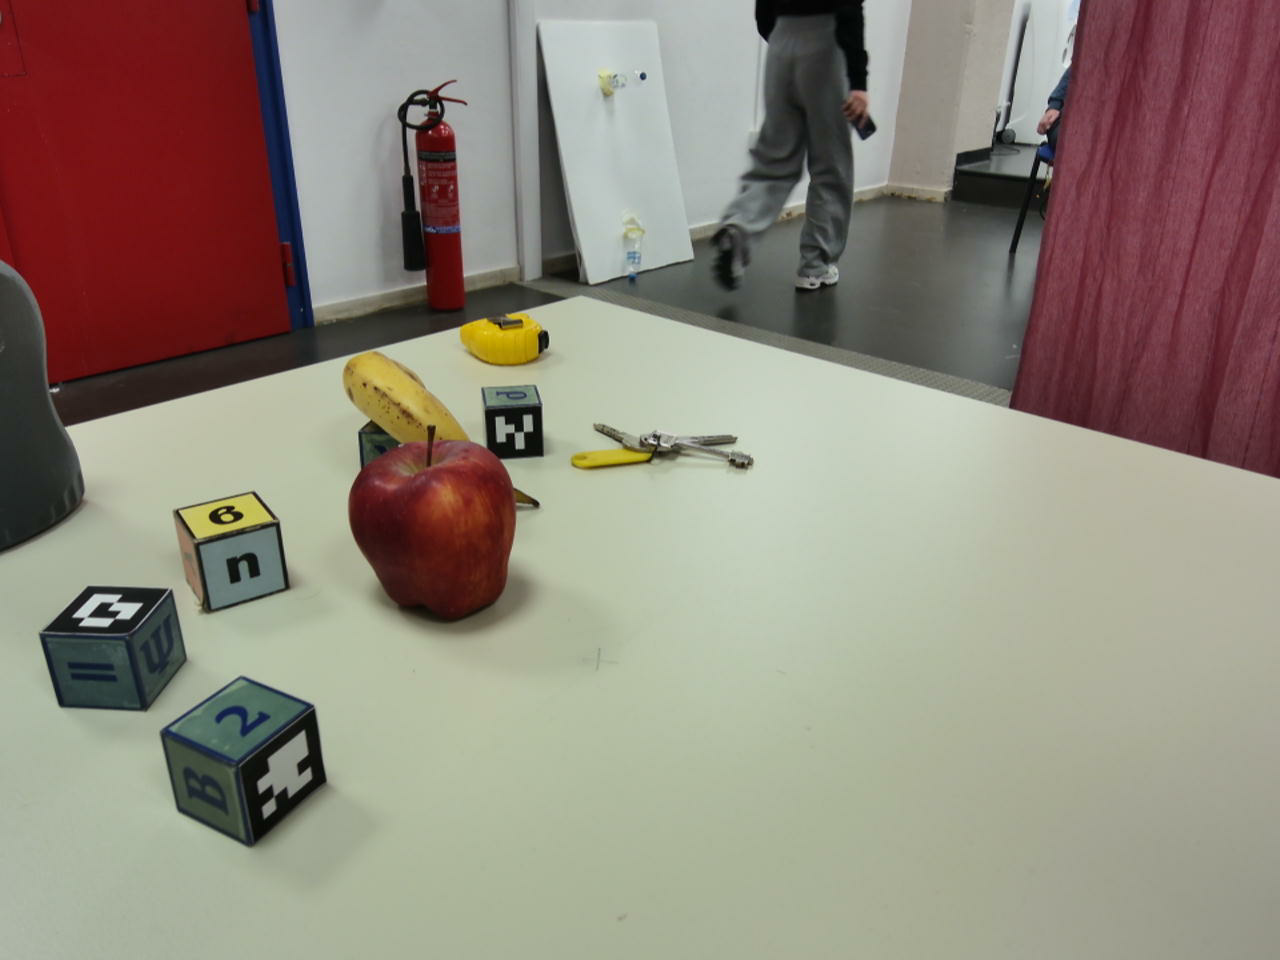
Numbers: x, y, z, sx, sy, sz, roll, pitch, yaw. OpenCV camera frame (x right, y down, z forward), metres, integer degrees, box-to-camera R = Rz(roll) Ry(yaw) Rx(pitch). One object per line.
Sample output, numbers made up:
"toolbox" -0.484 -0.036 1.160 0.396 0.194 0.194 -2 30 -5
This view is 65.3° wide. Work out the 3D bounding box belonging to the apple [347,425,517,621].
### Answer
"apple" -0.099 0.017 0.483 0.083 0.090 0.083 1 24 -1
